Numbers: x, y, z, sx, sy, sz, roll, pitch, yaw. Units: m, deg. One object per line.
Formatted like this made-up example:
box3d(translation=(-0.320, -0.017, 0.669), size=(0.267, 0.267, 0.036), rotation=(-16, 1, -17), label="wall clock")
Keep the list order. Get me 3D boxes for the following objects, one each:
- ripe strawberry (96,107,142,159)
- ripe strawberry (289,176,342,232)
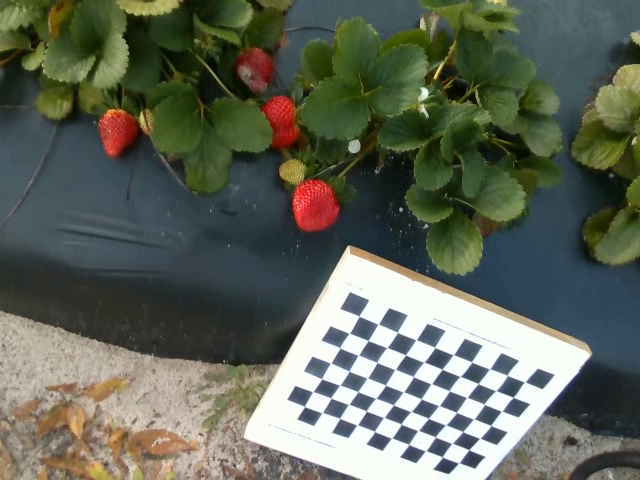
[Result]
box3d(translation=(-0.082, -0.041, 0.250), size=(0.018, 0.022, 0.017), rotation=(4, -14, -3), label="ripe strawberry")
box3d(translation=(-0.004, -0.011, 0.263), size=(0.022, 0.025, 0.030), rotation=(20, 36, 18), label="ripe strawberry")
